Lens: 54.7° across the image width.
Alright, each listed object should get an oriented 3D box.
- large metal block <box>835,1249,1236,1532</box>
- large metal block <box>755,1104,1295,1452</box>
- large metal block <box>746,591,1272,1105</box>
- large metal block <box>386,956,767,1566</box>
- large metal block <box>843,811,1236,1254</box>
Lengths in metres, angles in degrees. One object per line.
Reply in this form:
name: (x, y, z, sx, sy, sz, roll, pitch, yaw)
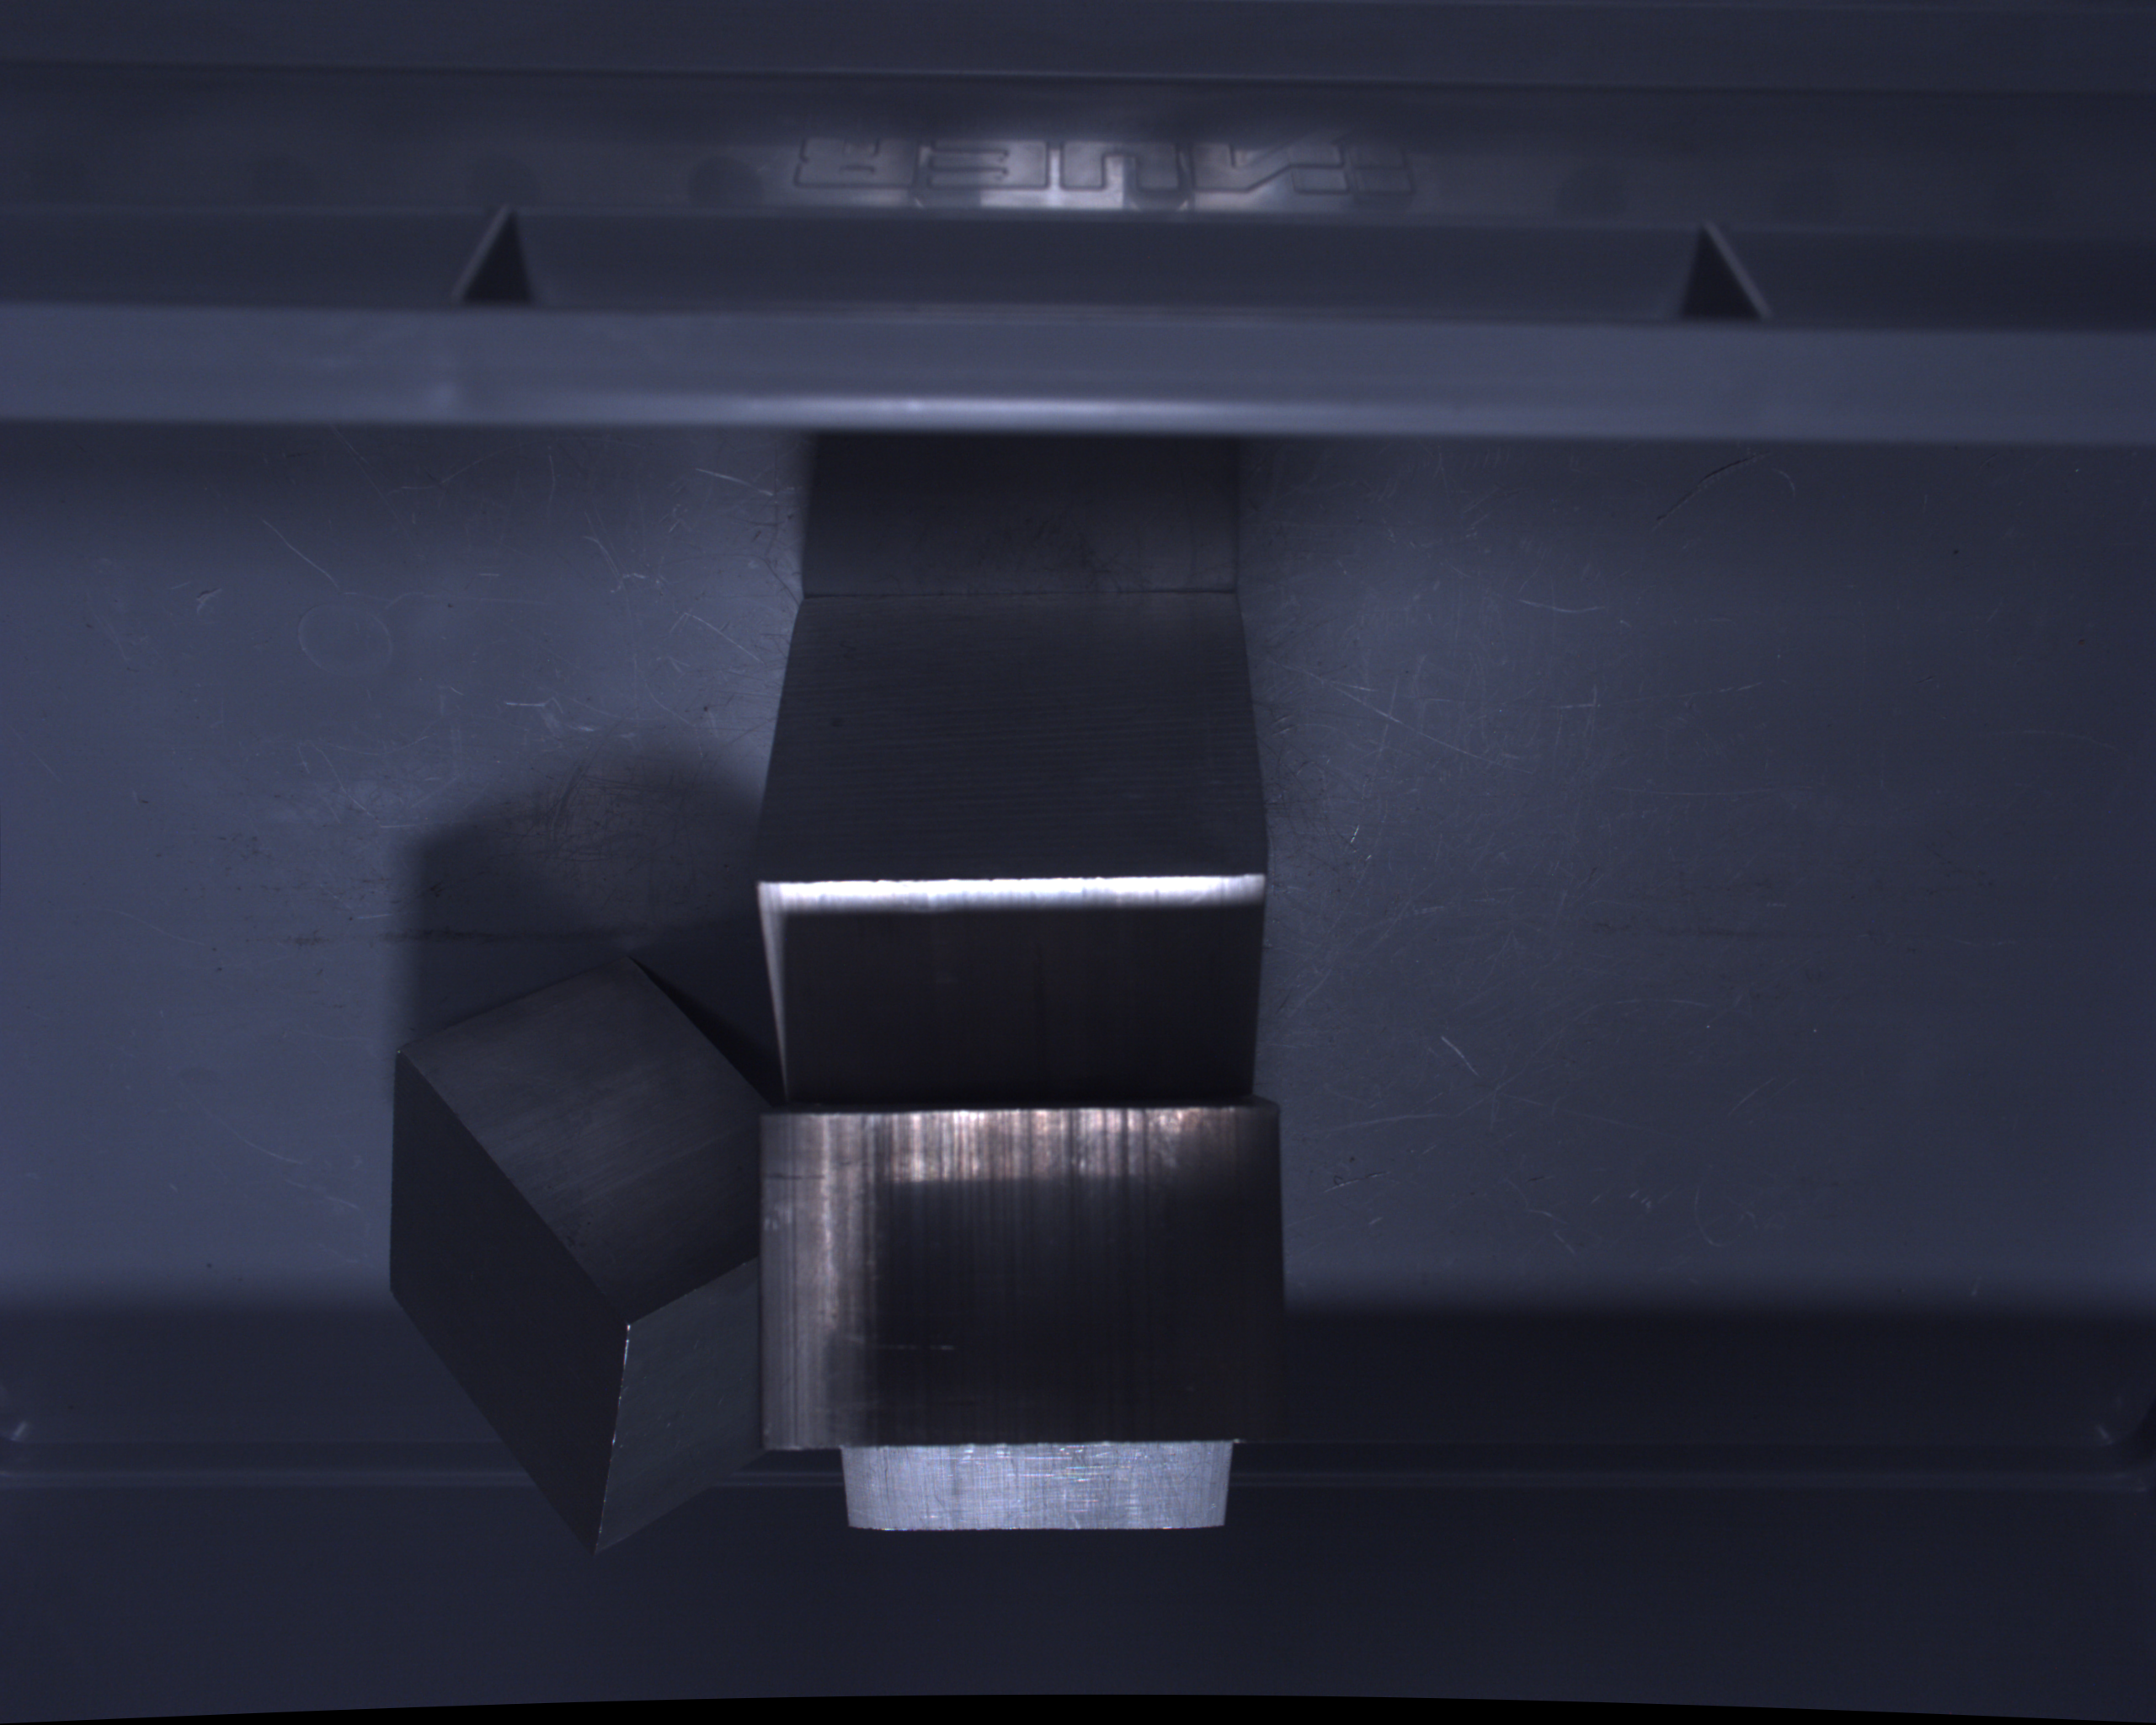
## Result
large metal block: (-0.009, 0.095, 0.451, 0.081, 0.080, 0.050, 0, 130, -1)
large metal block: (-0.008, 0.066, 0.353, 0.081, 0.080, 0.050, -1, 85, 0)
large metal block: (-0.010, -0.004, 0.366, 0.081, 0.080, 0.050, -1, 130, 0)
large metal block: (-0.097, 0.080, 0.427, 0.050, 0.080, 0.079, -25, 144, -39)
large metal block: (-0.010, 0.034, 0.422, 0.081, 0.050, 0.079, -1, 130, 0)
